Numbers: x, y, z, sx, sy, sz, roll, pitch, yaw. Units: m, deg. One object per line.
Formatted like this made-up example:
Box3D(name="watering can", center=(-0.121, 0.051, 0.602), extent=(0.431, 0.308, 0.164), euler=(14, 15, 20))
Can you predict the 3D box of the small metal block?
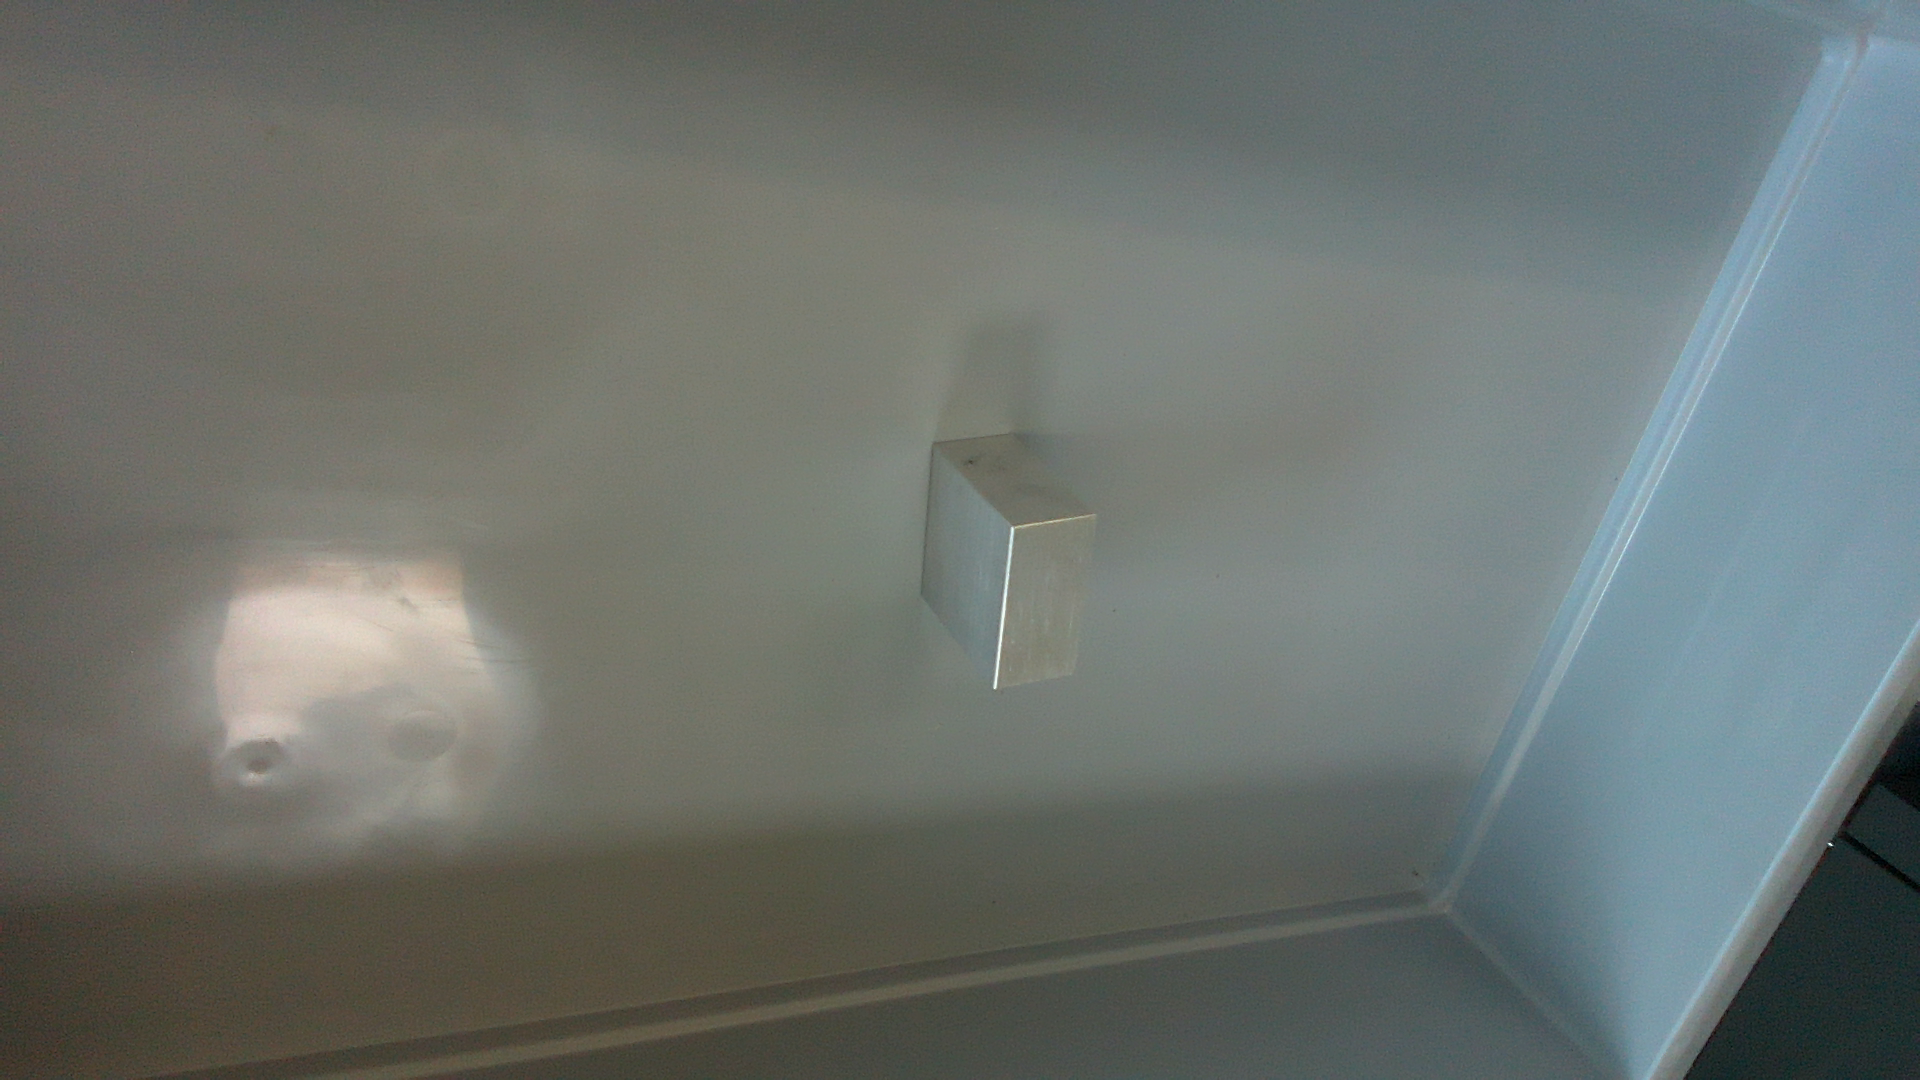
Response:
Box3D(name="small metal block", center=(0.012, 0.005, 0.378), extent=(0.025, 0.050, 0.050), euler=(-9, 122, -24))
